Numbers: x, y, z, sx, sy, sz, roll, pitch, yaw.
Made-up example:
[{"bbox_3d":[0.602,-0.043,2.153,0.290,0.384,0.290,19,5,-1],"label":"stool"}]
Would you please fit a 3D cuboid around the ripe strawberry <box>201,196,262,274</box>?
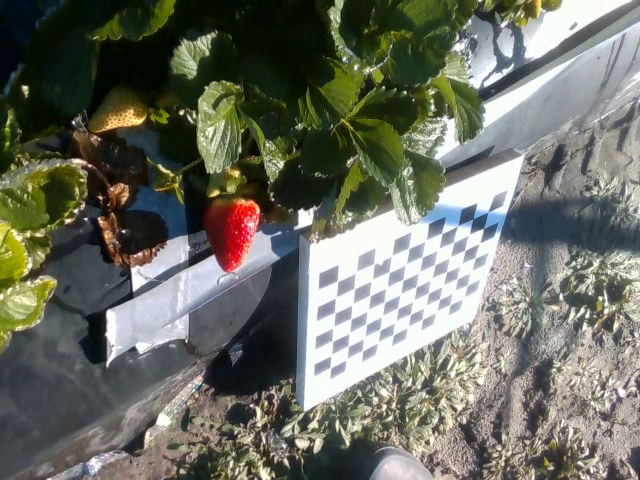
[{"bbox_3d":[-0.075,-0.002,0.561,0.057,0.065,0.061,-12,-13,40],"label":"ripe strawberry"}]
